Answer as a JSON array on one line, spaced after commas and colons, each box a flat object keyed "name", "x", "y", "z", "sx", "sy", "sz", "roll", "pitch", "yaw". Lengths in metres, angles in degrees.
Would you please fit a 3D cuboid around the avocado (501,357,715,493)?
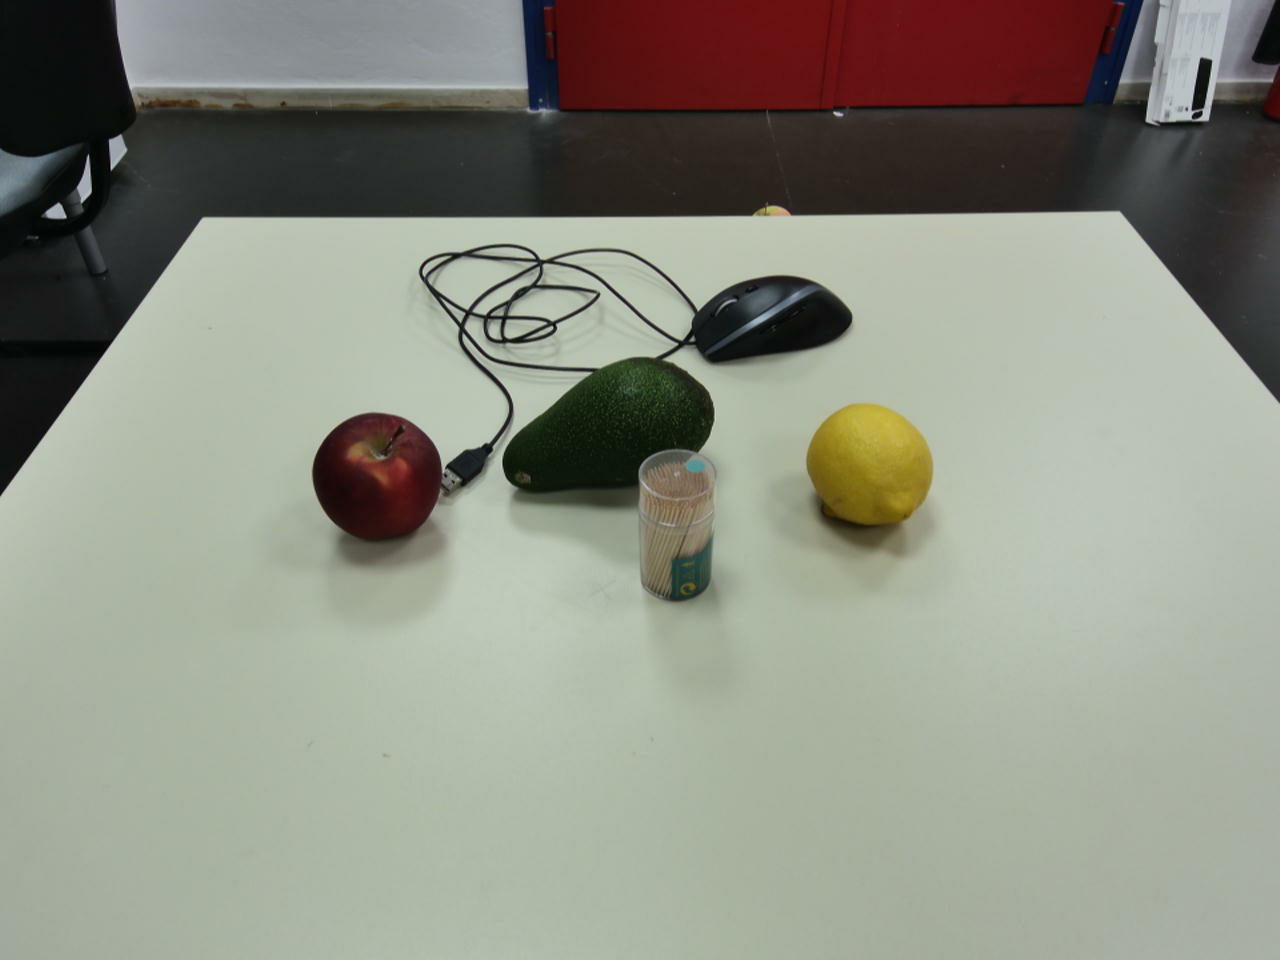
[{"name": "avocado", "x": -0.017, "y": -0.036, "z": 0.588, "sx": 0.123, "sy": 0.076, "sz": 0.074, "roll": 4, "pitch": 39, "yaw": 5}]
